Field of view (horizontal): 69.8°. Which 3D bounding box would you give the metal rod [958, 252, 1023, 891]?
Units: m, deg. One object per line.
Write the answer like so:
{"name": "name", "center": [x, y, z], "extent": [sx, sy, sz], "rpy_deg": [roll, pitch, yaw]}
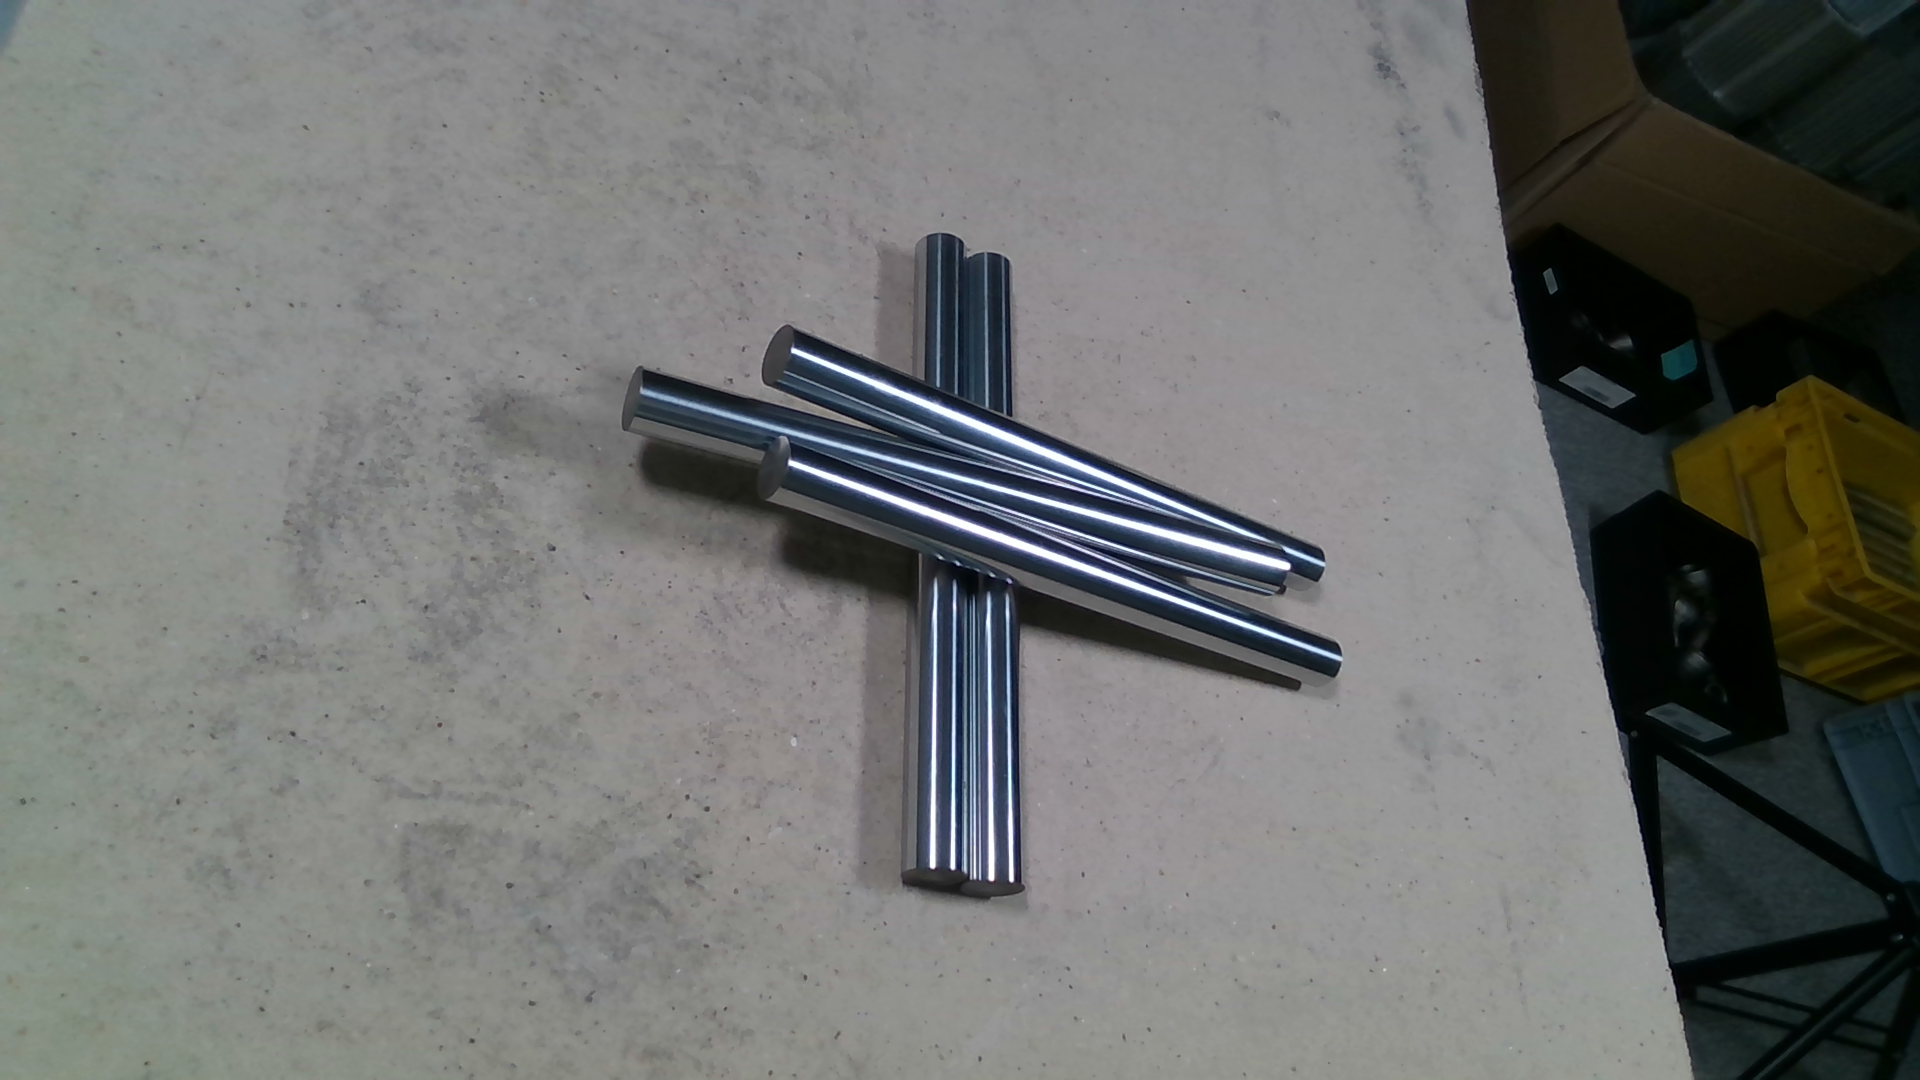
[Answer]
{"name": "metal rod", "center": [0.012, 0.001, 0.594], "extent": [0.025, 0.025, 0.299], "rpy_deg": [14, 59, -25]}

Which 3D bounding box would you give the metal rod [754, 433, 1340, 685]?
{"name": "metal rod", "center": [0.052, 0.016, 0.582], "extent": [0.300, 0.025, 0.025], "rpy_deg": [20, 56, -32]}

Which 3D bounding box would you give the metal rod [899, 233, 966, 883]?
{"name": "metal rod", "center": [-0.010, -0.006, 0.585], "extent": [0.025, 0.025, 0.299], "rpy_deg": [14, 59, -25]}

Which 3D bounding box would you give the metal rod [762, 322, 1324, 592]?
{"name": "metal rod", "center": [0.051, -0.029, 0.606], "extent": [0.300, 0.025, 0.025], "rpy_deg": [20, 56, -32]}

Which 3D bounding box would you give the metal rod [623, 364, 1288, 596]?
{"name": "metal rod", "center": [0.011, -0.019, 0.571], "extent": [0.300, 0.025, 0.025], "rpy_deg": [14, 59, -25]}
